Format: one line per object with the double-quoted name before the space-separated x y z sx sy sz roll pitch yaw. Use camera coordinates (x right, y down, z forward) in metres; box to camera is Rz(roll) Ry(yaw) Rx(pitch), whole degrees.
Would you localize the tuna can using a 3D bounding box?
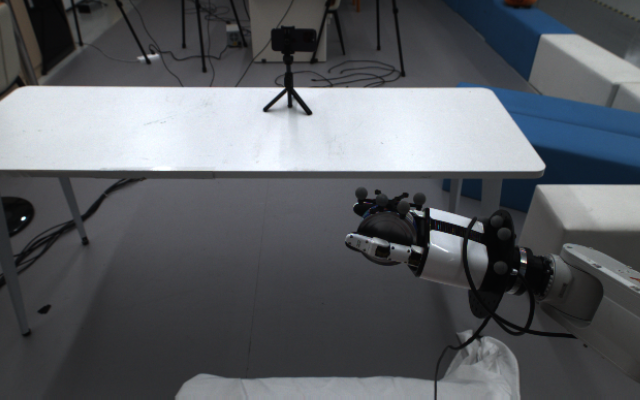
"tuna can" 0.097 0.047 0.690 0.085 0.085 0.034 9 24 10
